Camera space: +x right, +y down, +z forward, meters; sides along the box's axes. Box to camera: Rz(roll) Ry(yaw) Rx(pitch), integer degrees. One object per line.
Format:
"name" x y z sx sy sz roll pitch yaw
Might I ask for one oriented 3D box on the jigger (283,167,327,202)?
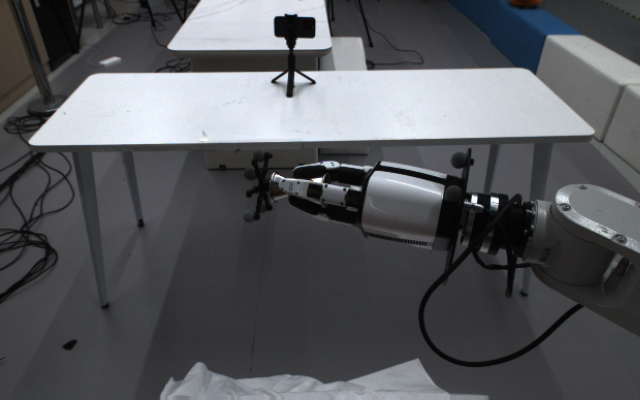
"jigger" -0.018 -0.017 0.601 0.071 0.043 0.043 4 34 15
